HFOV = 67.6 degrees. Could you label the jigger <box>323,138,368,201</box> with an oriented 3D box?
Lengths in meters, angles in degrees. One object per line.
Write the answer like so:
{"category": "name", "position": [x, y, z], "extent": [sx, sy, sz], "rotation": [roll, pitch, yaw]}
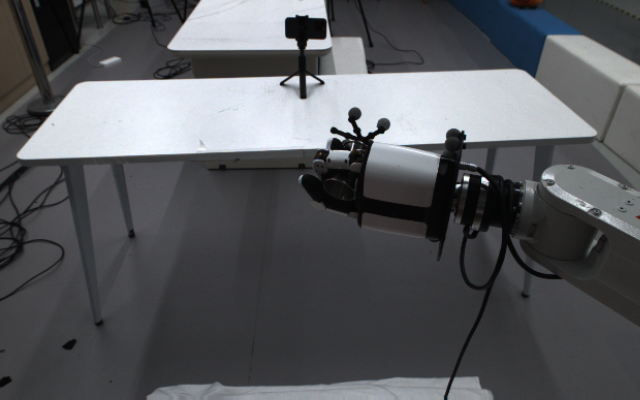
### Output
{"category": "jigger", "position": [0.037, -0.042, 0.618], "extent": [0.043, 0.043, 0.071], "rotation": [15, 58, 18]}
